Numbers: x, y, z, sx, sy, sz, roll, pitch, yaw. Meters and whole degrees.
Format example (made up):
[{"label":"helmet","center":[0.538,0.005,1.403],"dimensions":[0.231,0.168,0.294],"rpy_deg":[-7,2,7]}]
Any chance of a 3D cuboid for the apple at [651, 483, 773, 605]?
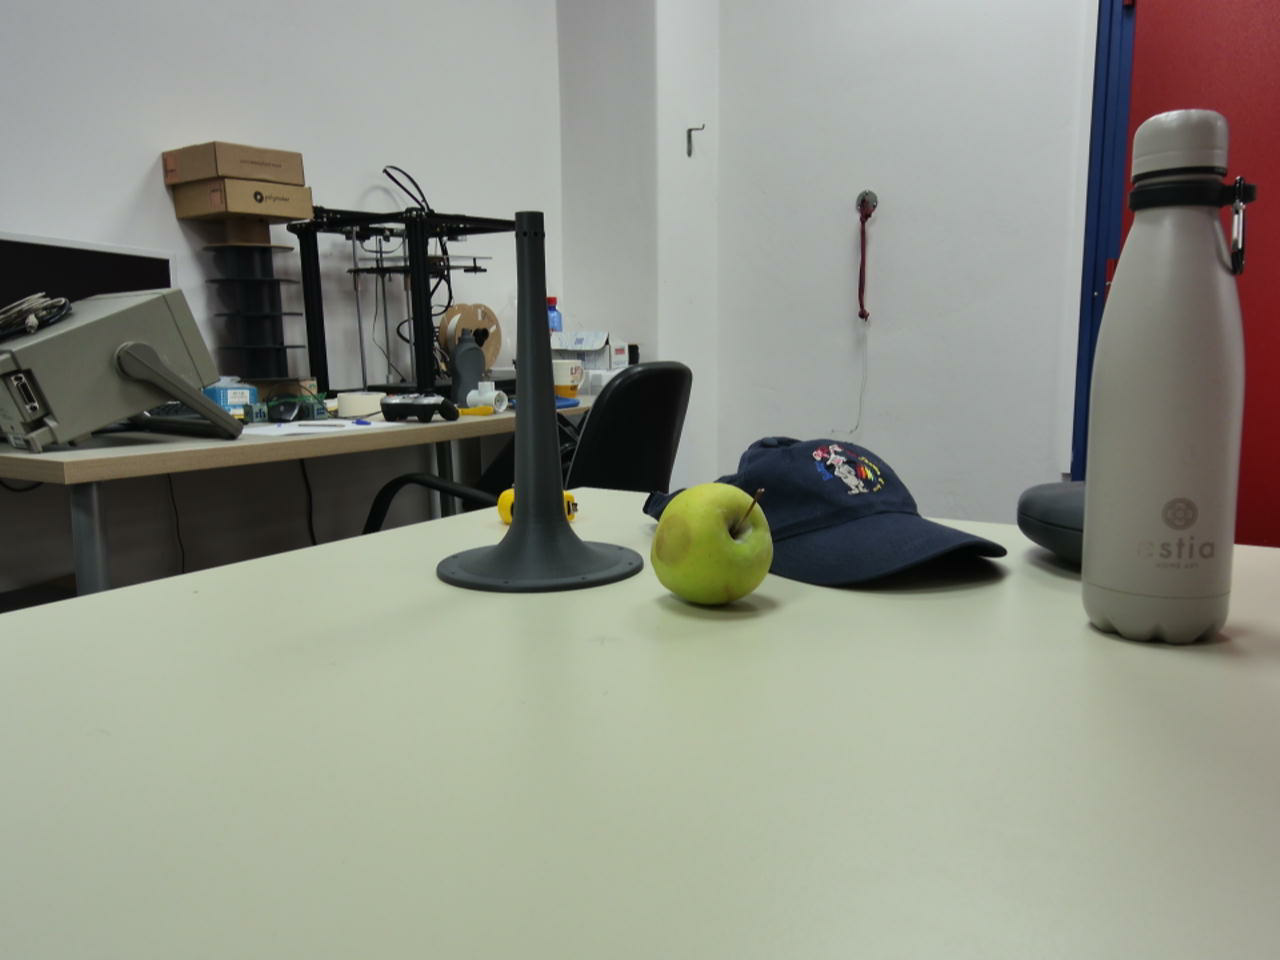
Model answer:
[{"label":"apple","center":[0.045,0.040,0.625],"dimensions":[0.072,0.075,0.077],"rpy_deg":[-3,7,-11]}]
